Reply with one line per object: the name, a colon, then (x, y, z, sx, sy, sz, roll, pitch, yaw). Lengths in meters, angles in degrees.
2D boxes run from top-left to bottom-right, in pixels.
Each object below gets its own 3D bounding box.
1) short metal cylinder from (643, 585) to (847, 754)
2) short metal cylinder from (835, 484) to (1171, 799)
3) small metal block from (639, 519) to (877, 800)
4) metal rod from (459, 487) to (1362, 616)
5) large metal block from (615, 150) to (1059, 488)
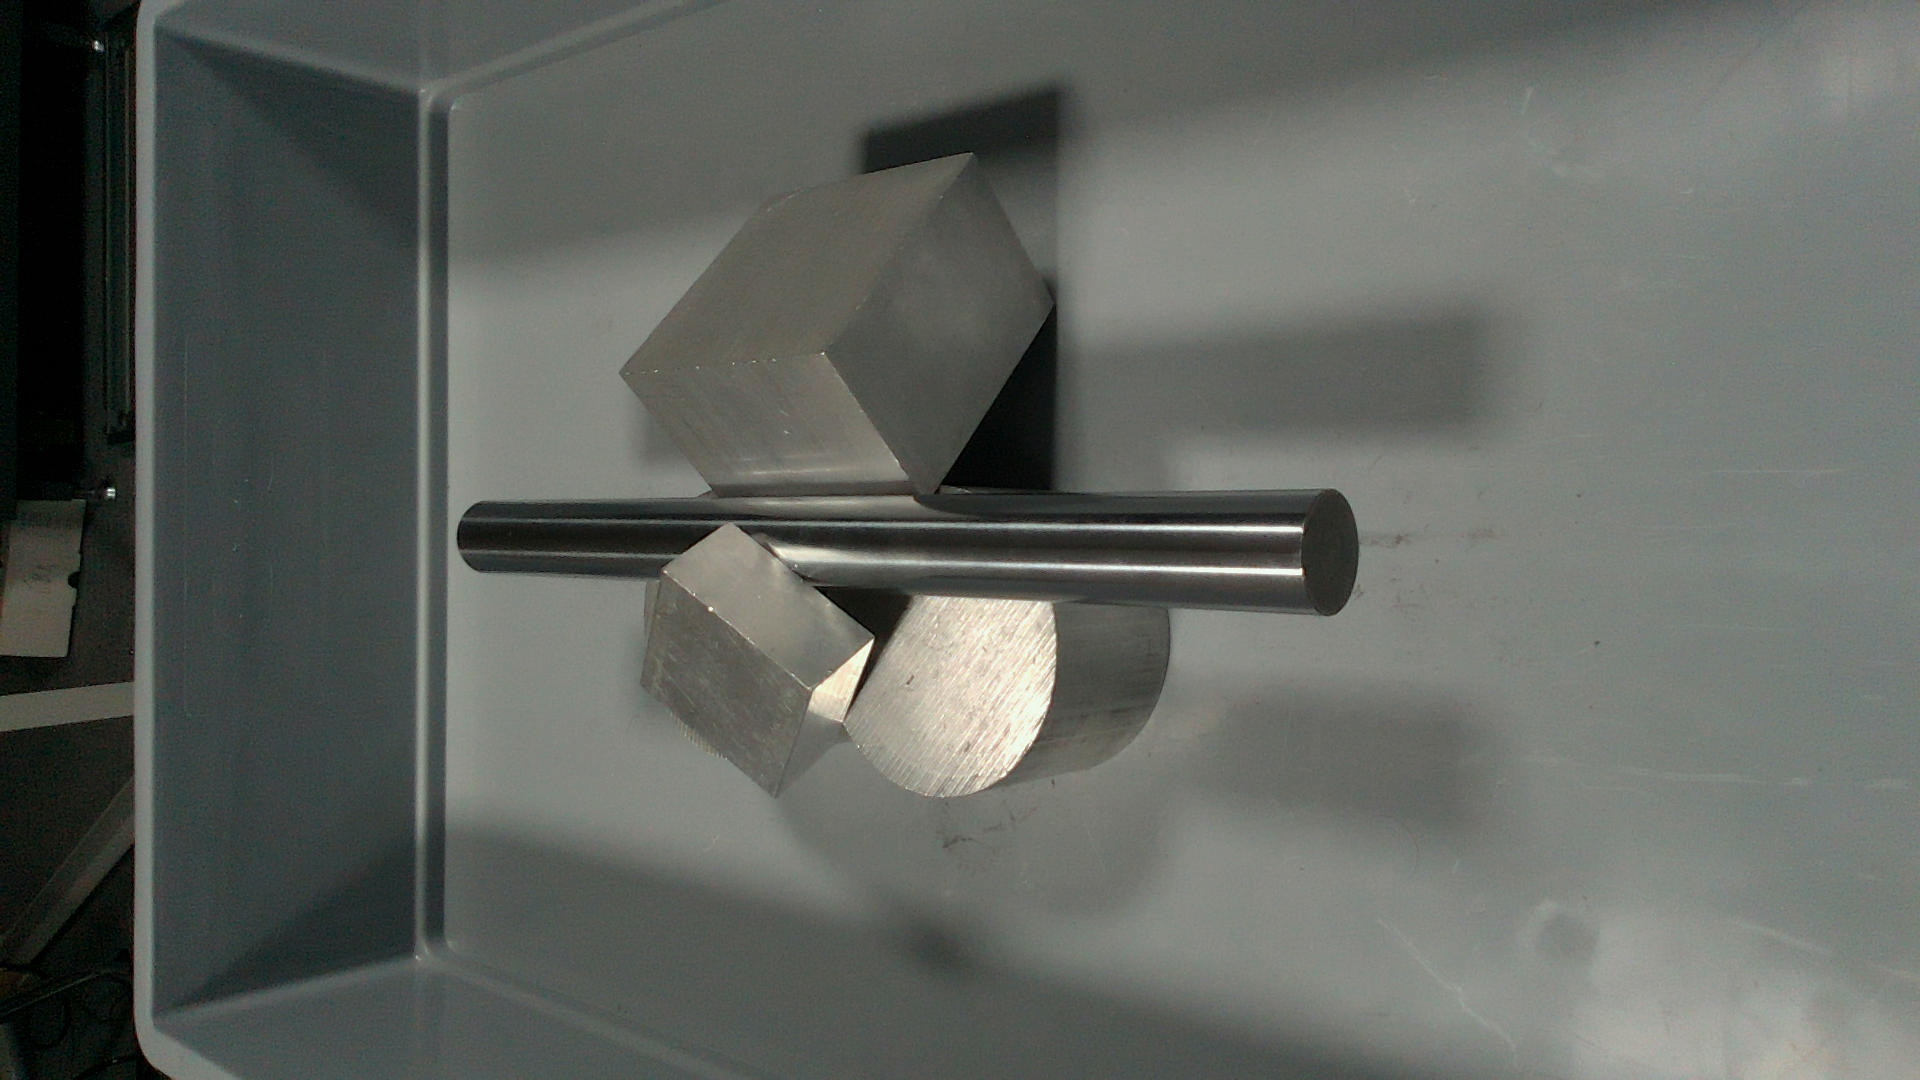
short metal cylinder: (-0.052, 0.024, 0.421, 0.080, 0.050, 0.080, 0, 90, 40)
short metal cylinder: (0.009, 0.026, 0.370, 0.080, 0.050, 0.080, 0, 90, 40)
small metal block: (-0.054, 0.032, 0.359, 0.050, 0.025, 0.050, 37, 136, 14)
metal rod: (-0.042, 0.000, 0.363, 0.299, 0.025, 0.025, 1, 91, 40)
large metal block: (-0.032, -0.056, 0.377, 0.080, 0.050, 0.080, 1, 47, 40)
